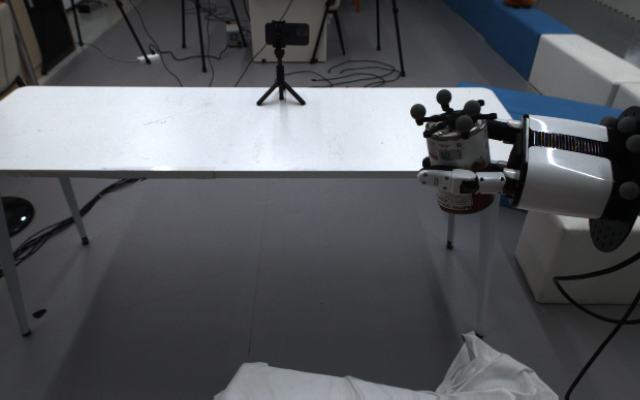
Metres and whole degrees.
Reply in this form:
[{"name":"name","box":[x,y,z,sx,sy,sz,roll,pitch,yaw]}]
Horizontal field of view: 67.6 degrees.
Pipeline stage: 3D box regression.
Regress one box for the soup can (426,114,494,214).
[{"name":"soup can","box":[0.163,-0.045,0.559,0.067,0.101,0.067,-13,31,8]}]
